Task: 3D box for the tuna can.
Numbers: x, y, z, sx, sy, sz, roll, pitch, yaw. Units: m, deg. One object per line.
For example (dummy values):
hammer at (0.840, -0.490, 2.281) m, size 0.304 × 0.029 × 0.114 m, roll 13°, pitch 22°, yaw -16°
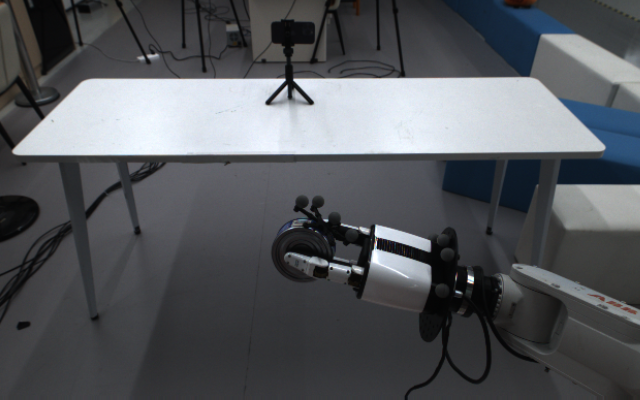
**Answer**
tuna can at (-0.021, 0.069, 0.661) m, size 0.085 × 0.085 × 0.034 m, roll 6°, pitch 19°, yaw 6°
